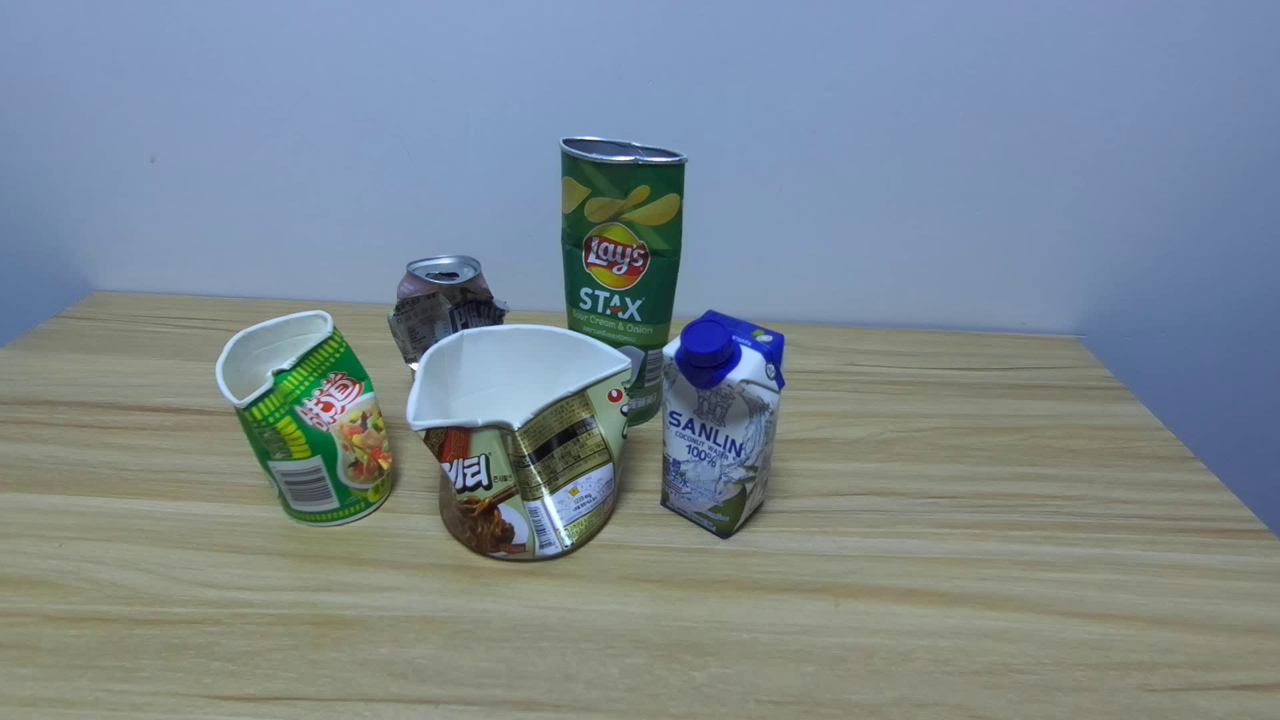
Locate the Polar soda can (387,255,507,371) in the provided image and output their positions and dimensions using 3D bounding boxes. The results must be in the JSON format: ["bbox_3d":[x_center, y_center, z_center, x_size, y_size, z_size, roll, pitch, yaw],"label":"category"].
[{"bbox_3d":[-0.141,-0.020,0.541,0.070,0.114,0.074,14,34,15],"label":"Polar soda can"}]

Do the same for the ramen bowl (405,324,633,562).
[{"bbox_3d":[-0.071,0.046,0.445,0.137,0.098,0.137,1,30,0],"label":"ramen bowl"}]

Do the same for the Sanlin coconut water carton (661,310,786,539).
[{"bbox_3d":[0.047,0.035,0.424,0.077,0.142,0.058,22,42,31],"label":"Sanlin coconut water carton"}]

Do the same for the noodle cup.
[{"bbox_3d":[-0.198,0.038,0.435,0.075,0.122,0.083,17,42,36],"label":"noodle cup"}]

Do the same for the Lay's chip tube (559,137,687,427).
[{"bbox_3d":[-0.014,-0.051,0.505,0.075,0.199,0.068,-6,31,-13],"label":"Lay's chip tube"}]
